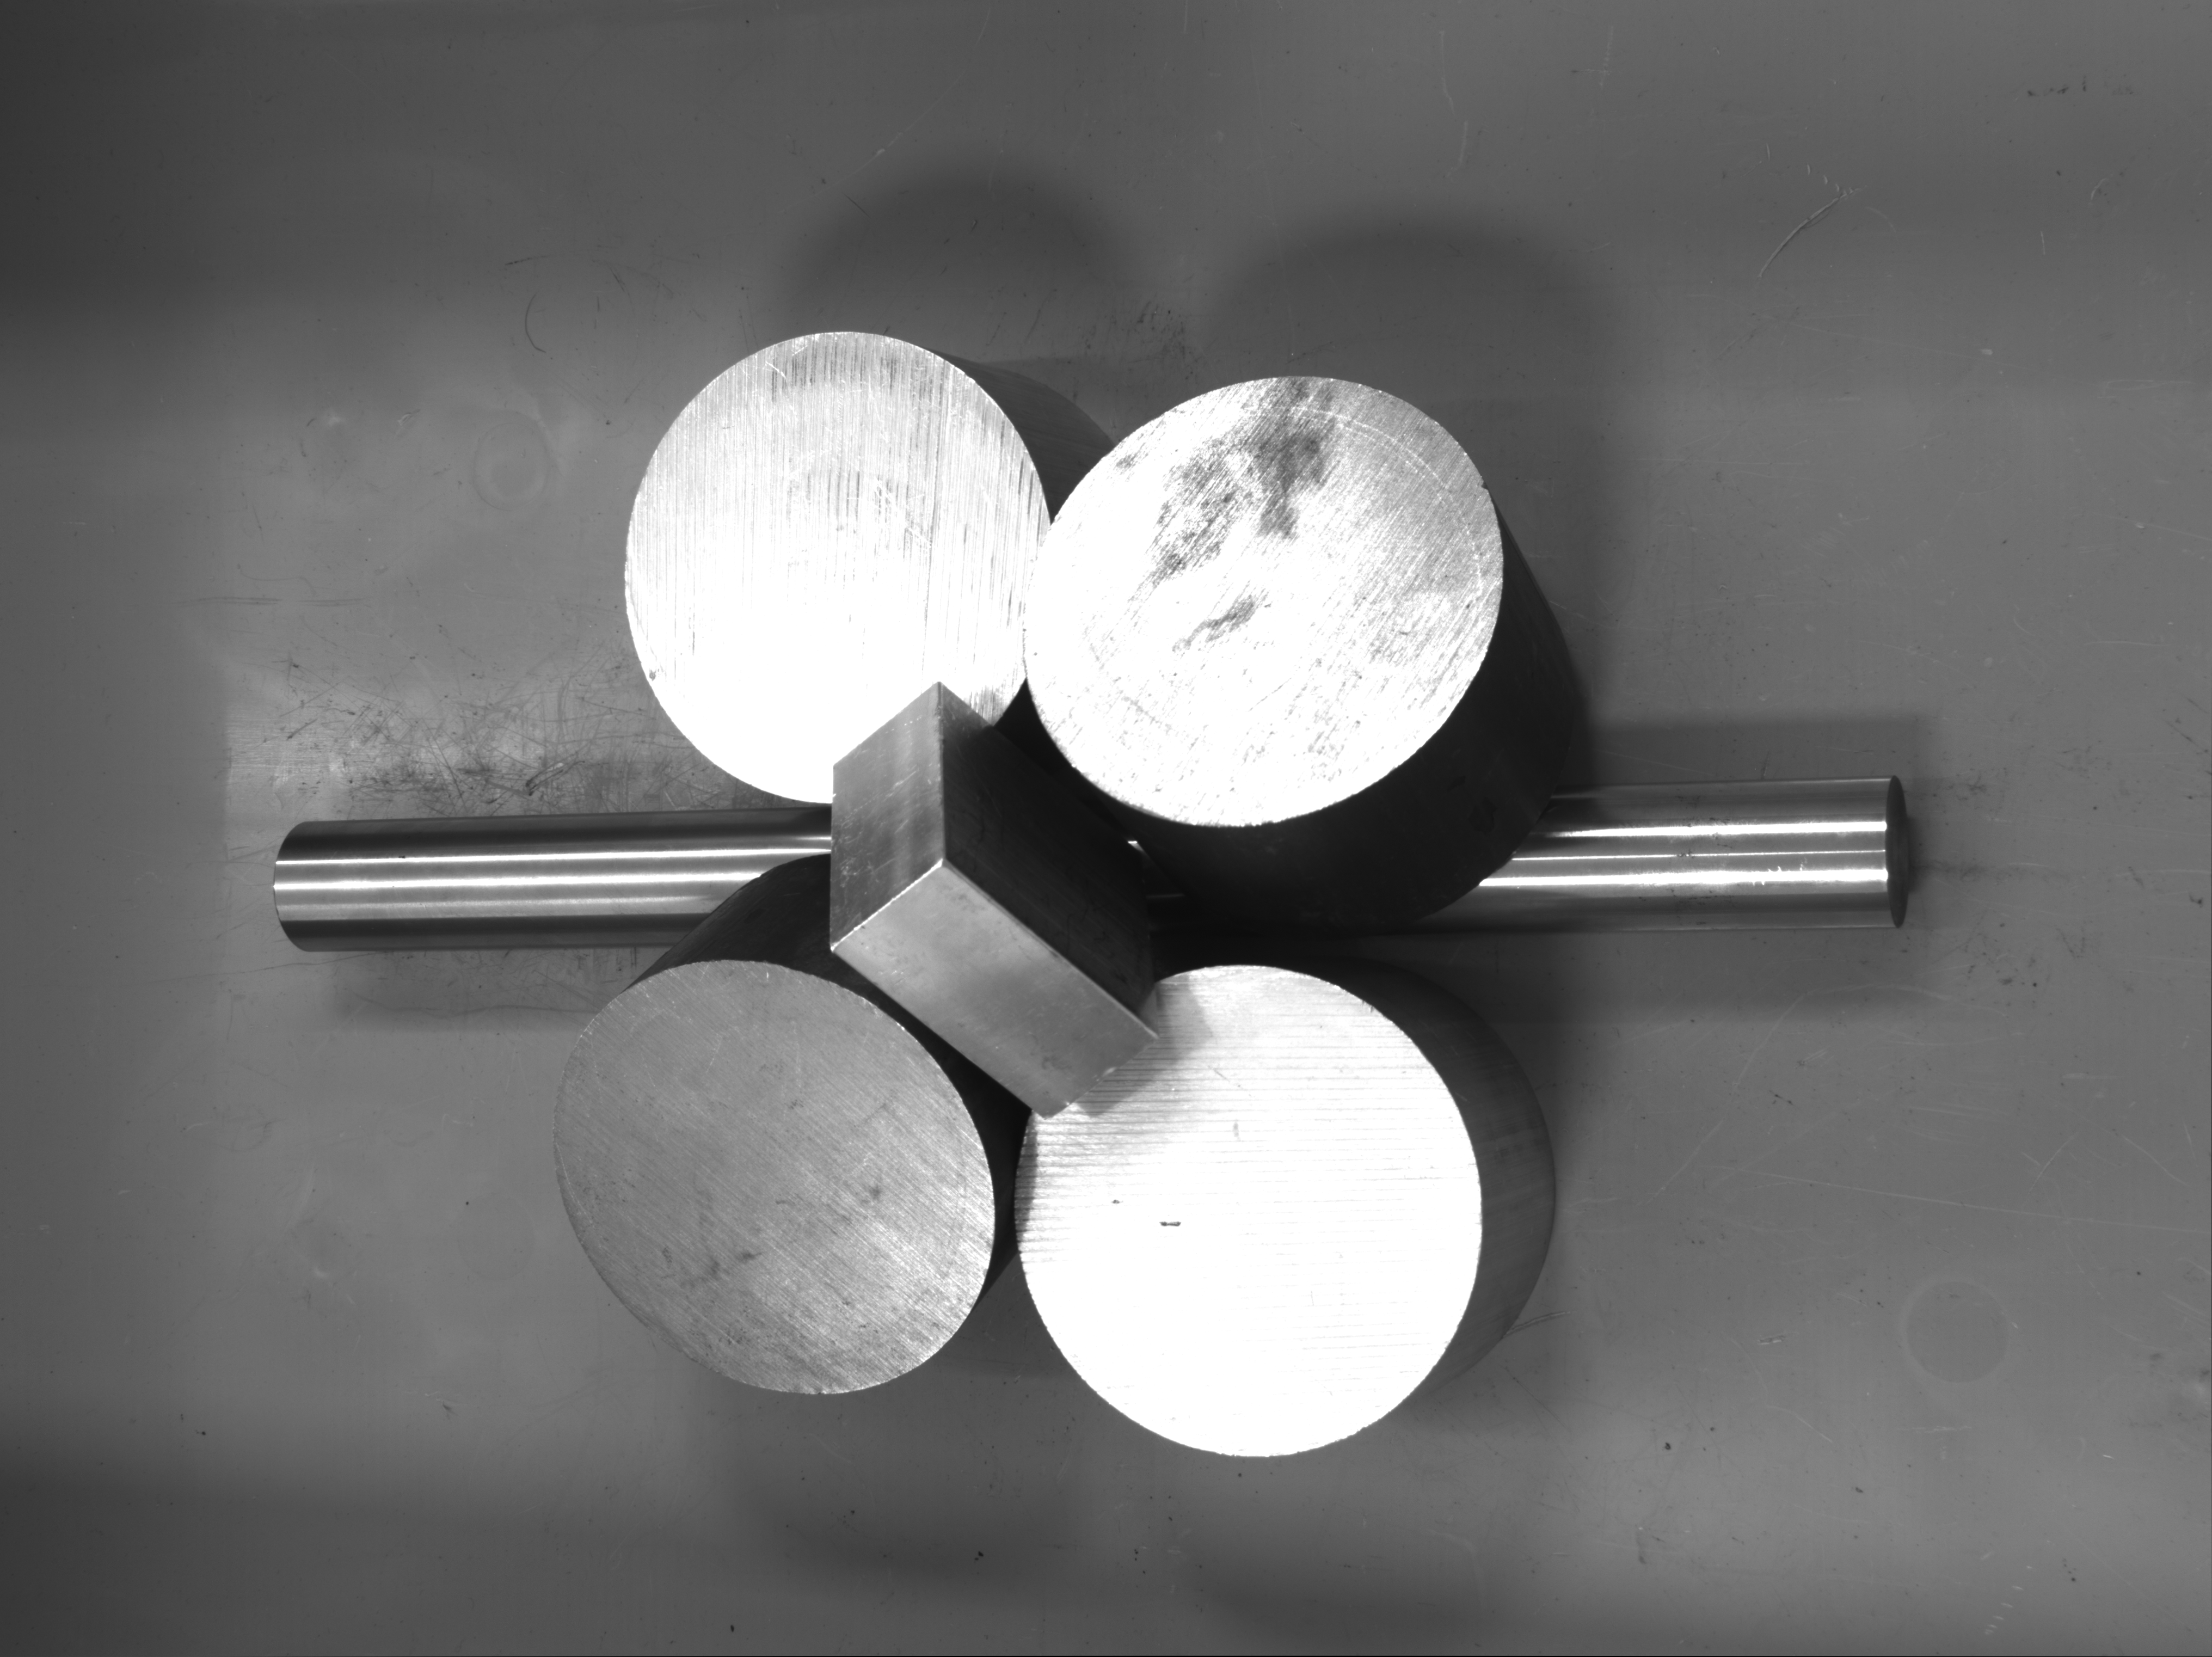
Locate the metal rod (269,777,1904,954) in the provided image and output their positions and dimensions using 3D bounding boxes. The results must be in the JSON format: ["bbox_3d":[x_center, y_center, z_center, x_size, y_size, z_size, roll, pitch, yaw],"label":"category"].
[{"bbox_3d":[-0.012,0.008,0.649,0.299,0.025,0.025,-2,89,20],"label":"metal rod"}]

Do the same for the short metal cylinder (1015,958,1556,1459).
[{"bbox_3d":[0.031,0.062,0.621,0.080,0.050,0.080,0,90,20],"label":"short metal cylinder"}]

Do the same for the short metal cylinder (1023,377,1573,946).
[{"bbox_3d":[0.032,-0.027,0.606,0.080,0.050,0.080,-8,64,17],"label":"short metal cylinder"}]

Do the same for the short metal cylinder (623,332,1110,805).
[{"bbox_3d":[-0.037,-0.044,0.646,0.080,0.050,0.080,0,90,20],"label":"short metal cylinder"}]

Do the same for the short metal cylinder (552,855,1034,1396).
[{"bbox_3d":[-0.049,0.051,0.637,0.080,0.050,0.080,7,112,17],"label":"short metal cylinder"}]

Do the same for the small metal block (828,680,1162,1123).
[{"bbox_3d":[-0.018,0.012,0.601,0.025,0.050,0.050,-38,120,22],"label":"small metal block"}]
